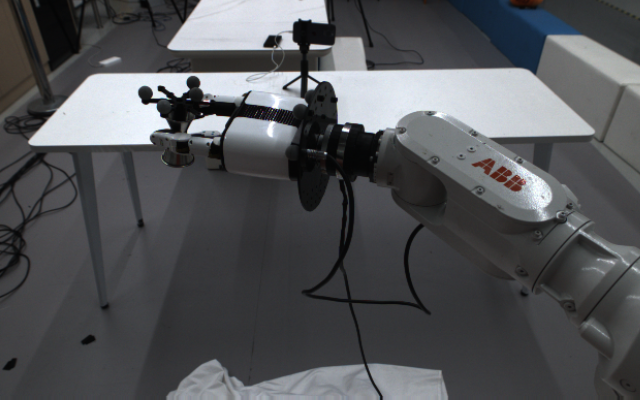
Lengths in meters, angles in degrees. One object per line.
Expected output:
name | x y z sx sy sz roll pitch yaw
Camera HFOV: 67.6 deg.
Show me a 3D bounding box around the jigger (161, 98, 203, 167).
jigger | -0.185 -0.083 0.636 0.043 0.071 0.043 9 36 -7
